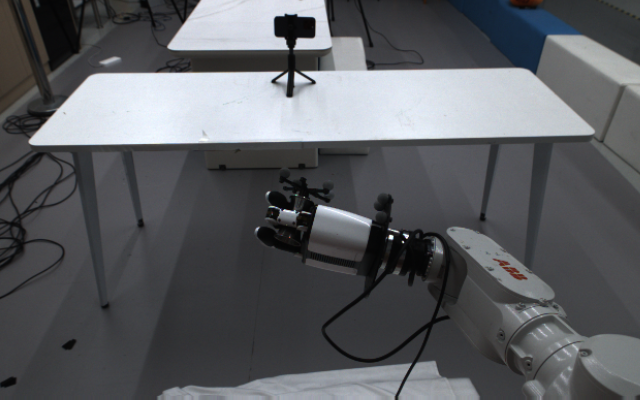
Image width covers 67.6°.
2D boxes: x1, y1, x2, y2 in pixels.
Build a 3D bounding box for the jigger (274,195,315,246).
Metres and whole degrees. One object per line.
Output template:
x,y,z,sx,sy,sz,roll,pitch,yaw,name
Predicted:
-0.035,0.030,0.731,0.043,0.043,0.071,12,71,14,jigger
